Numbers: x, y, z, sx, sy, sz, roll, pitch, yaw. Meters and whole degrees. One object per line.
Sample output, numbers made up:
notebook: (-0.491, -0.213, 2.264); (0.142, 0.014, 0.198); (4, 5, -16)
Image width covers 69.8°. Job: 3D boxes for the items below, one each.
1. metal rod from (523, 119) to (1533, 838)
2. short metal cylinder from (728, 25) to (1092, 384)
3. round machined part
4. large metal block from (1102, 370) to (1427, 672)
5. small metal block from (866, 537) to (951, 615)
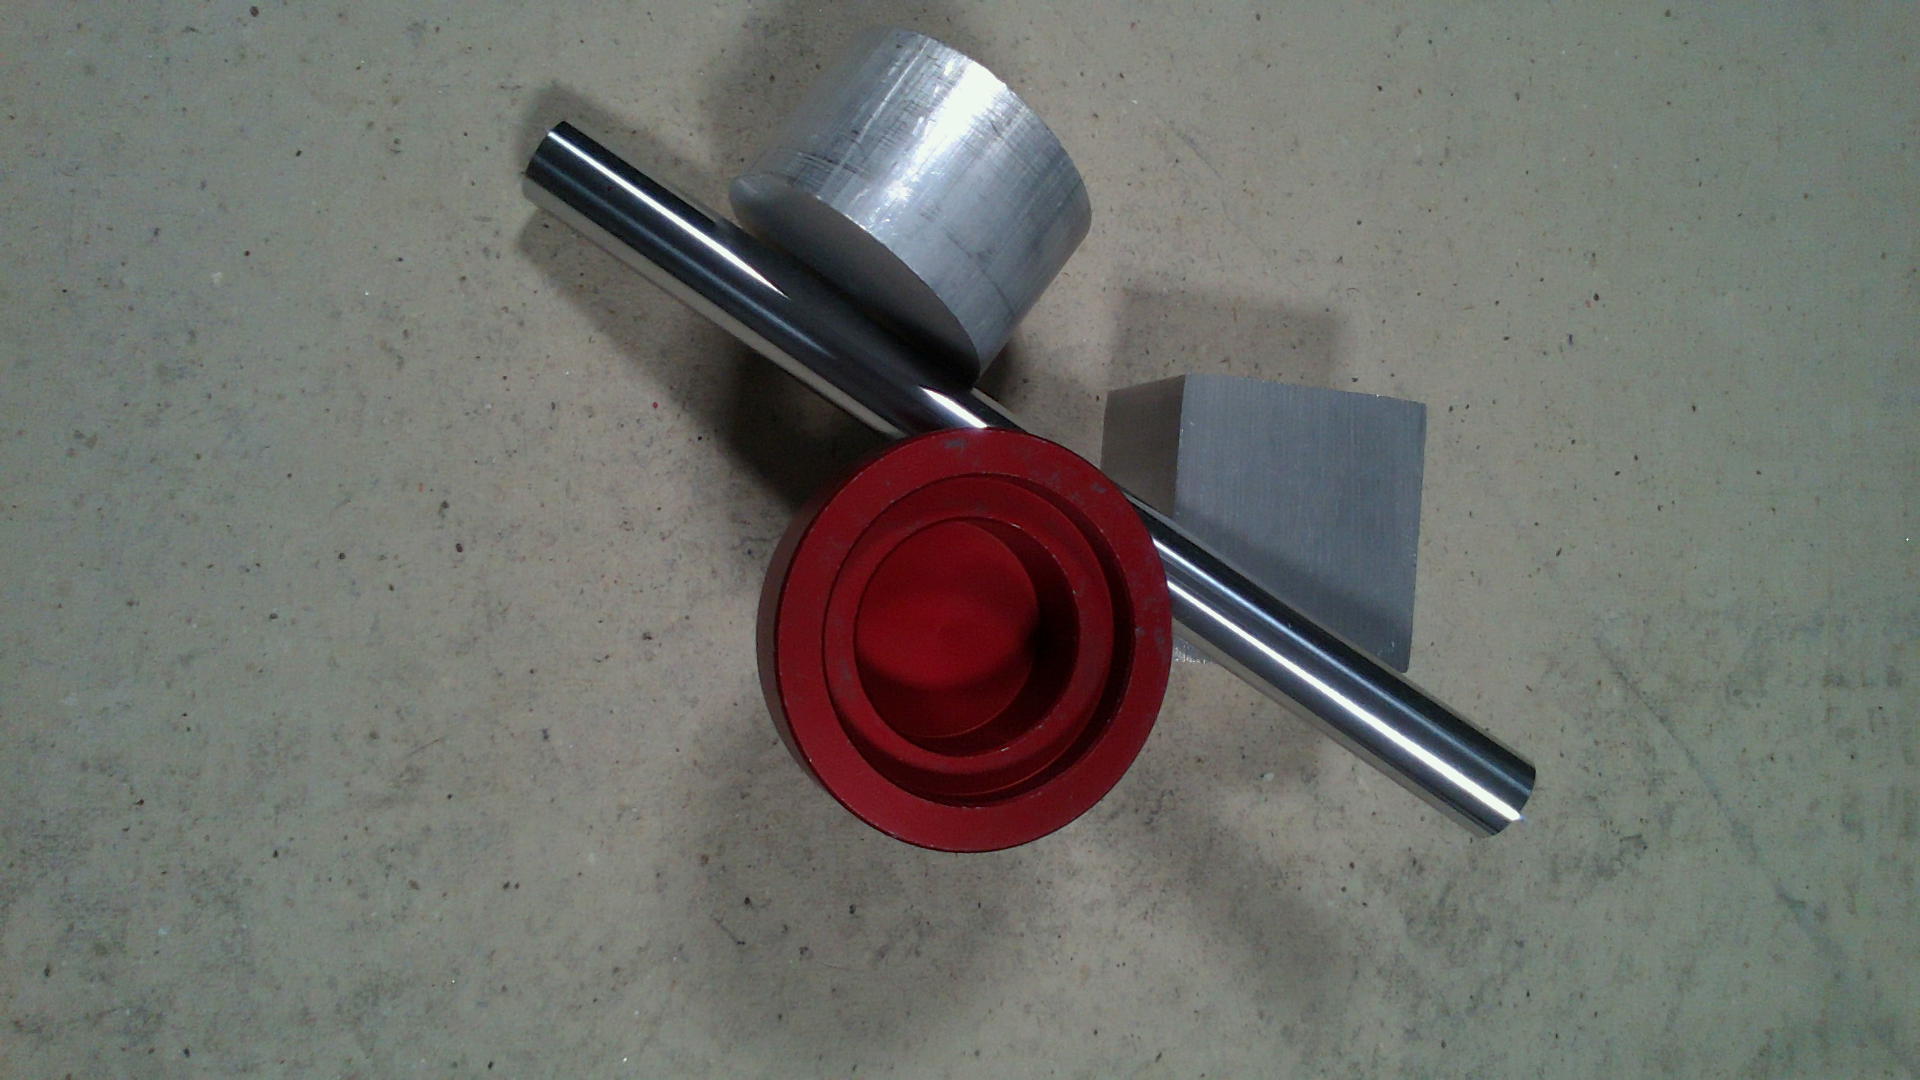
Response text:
metal rod: (0.020, -0.014, 0.361); (0.300, 0.025, 0.025); (34, 79, -3)
short metal cylinder: (-0.013, -0.085, 0.360); (0.080, 0.080, 0.050); (39, 78, -16)
round machined part: (-0.001, 0.023, 0.332); (0.098, 0.042, 0.098); (-1, 92, -20)
large metal block: (0.088, -0.004, 0.413); (0.080, 0.050, 0.080); (5, 89, -20)
small metal block: (-0.020, 0.011, 0.374); (0.025, 0.050, 0.050); (-2, 91, -20)
